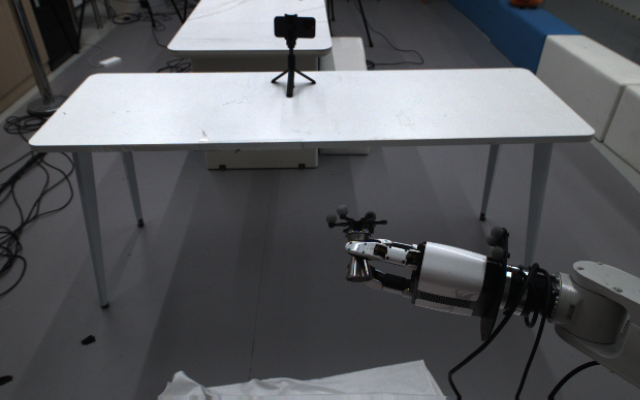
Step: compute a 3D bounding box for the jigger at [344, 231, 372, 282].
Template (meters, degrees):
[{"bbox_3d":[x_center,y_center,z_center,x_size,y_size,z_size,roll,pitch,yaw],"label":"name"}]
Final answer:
[{"bbox_3d":[0.057,0.081,0.712,0.043,0.043,0.071,1,70,-2],"label":"jigger"}]
